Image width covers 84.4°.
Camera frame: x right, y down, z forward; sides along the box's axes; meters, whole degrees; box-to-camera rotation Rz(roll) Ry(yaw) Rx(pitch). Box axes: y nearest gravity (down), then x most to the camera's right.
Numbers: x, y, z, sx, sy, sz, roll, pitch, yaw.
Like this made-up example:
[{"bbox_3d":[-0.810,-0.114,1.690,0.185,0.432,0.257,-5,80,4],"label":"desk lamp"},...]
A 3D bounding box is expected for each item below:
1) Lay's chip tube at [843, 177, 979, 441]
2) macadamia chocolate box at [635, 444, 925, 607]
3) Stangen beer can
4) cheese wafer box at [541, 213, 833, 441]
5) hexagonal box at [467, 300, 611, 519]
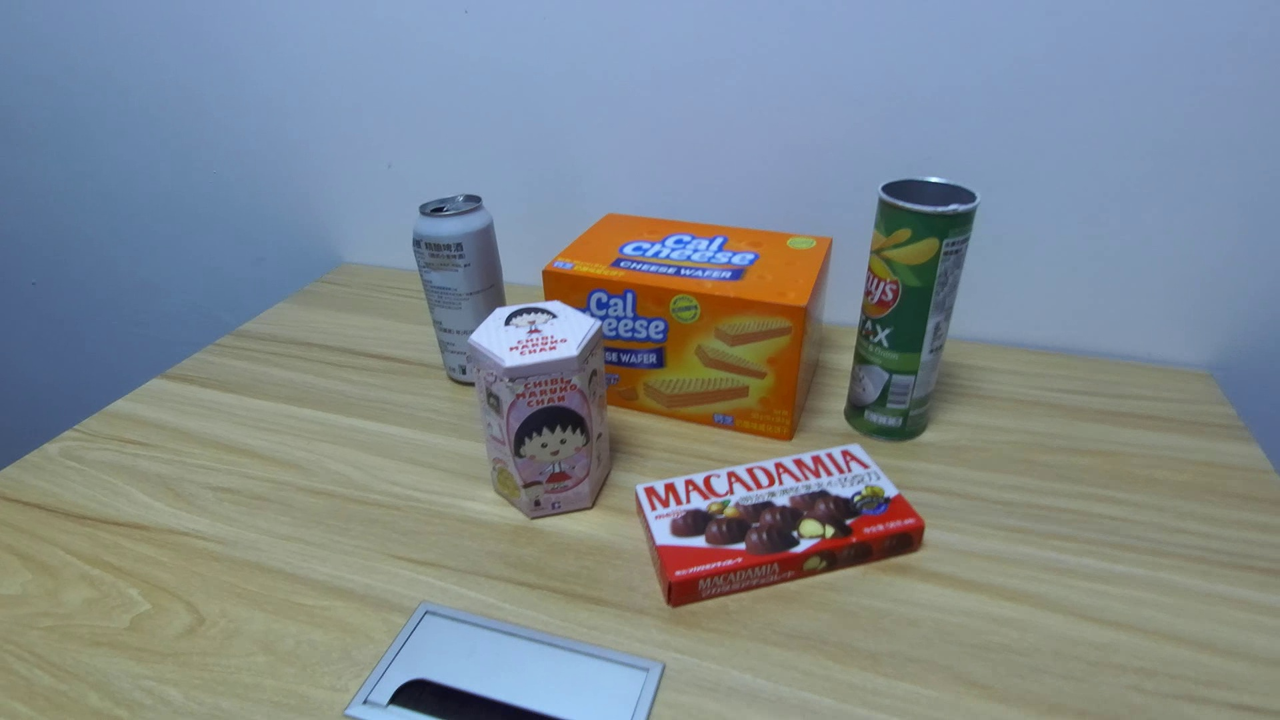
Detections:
[{"bbox_3d":[0.209,-0.036,0.554,0.071,0.203,0.071,-2,32,1],"label":"Lay's chip tube"},{"bbox_3d":[0.093,0.110,0.491,0.178,0.027,0.095,-8,31,-10],"label":"macadamia chocolate box"},{"bbox_3d":[-0.159,-0.064,0.646,0.070,0.173,0.069,0,29,5],"label":"Stangen beer can"},{"bbox_3d":[0.048,-0.038,0.636,0.221,0.129,0.148,10,34,18],"label":"cheese wafer box"},{"bbox_3d":[-0.068,0.037,0.511,0.091,0.136,0.083,-9,32,-11],"label":"hexagonal box"}]
